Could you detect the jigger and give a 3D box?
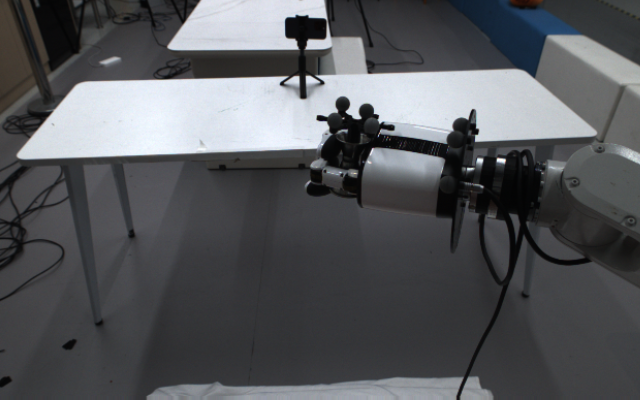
[{"bbox_3d":[0.037,-0.041,0.574,0.043,0.071,0.043,6,26,-3],"label":"jigger"}]
